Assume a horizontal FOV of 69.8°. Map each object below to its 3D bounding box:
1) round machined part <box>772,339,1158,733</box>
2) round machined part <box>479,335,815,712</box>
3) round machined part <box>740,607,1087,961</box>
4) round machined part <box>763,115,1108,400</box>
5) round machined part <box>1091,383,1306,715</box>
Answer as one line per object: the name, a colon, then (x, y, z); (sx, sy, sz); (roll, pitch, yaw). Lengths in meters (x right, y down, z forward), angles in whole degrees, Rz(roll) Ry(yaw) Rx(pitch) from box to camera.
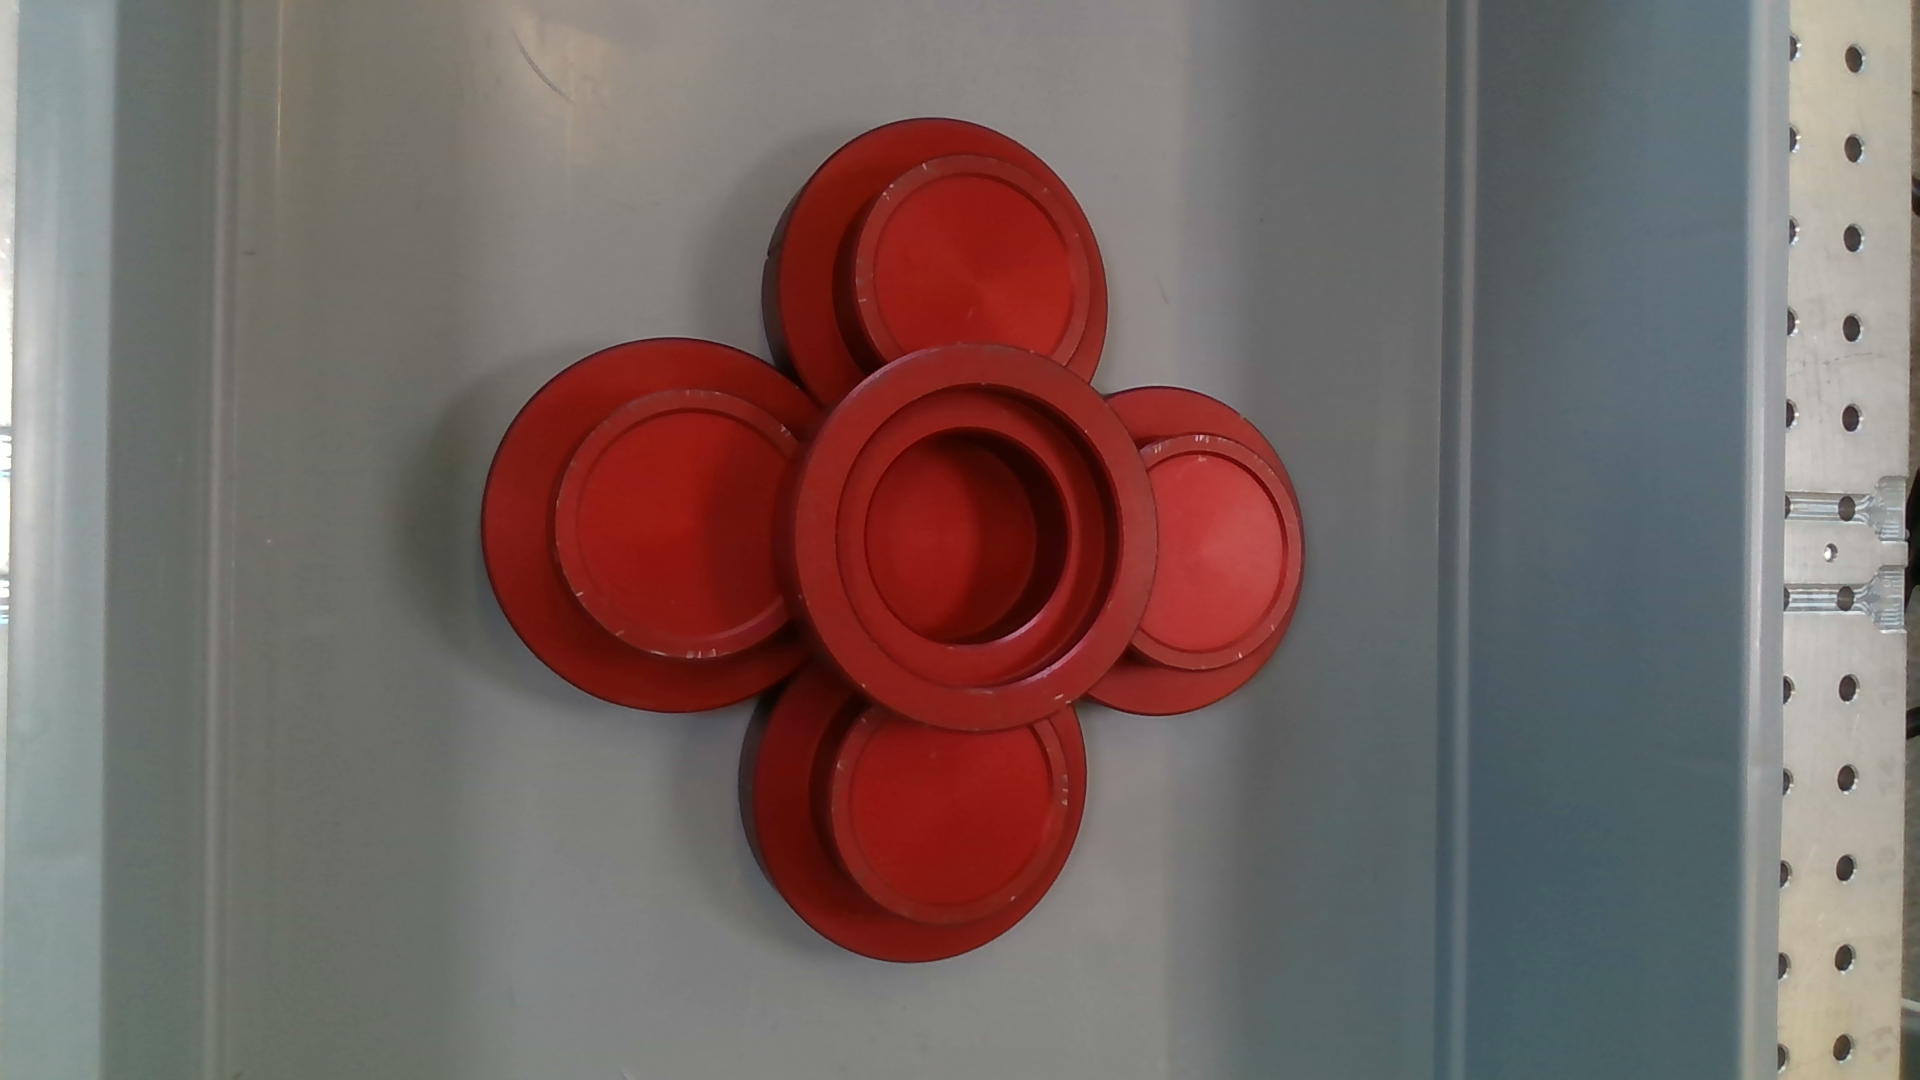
round machined part: (-0.001, -0.001, 0.361); (0.098, 0.042, 0.098); (0, 90, -20)
round machined part: (-0.072, -0.004, 0.357); (0.098, 0.042, 0.098); (0, 91, -22)
round machined part: (-0.009, 0.067, 0.380); (0.098, 0.042, 0.098); (0, 90, -20)
round machined part: (-0.003, -0.069, 0.382); (0.098, 0.042, 0.098); (0, 90, -20)
round machined part: (0.061, 0.003, 0.405); (0.098, 0.042, 0.098); (0, 90, -20)
